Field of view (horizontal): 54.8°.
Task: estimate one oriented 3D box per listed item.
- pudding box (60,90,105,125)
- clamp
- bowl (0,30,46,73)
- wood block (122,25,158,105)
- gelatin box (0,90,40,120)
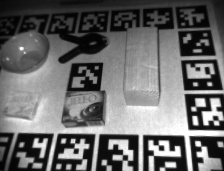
[{"bbox_3d":[-0.078,0.060,0.587,0.113,0.039,0.089,-3,66,9],"label":"pudding box"},{"bbox_3d":[-0.114,-0.135,0.703,0.165,0.037,0.121,-10,62,0],"label":"clamp"},{"bbox_3d":[-0.278,-0.099,0.693,0.161,0.055,0.161,-2,65,5],"label":"bowl"},{"bbox_3d":[0.081,-0.059,0.597,0.089,0.091,0.205,2,63,8],"label":"wood block"},{"bbox_3d":[-0.261,0.054,0.617,0.089,0.030,0.073,6,65,11],"label":"gelatin box"}]
